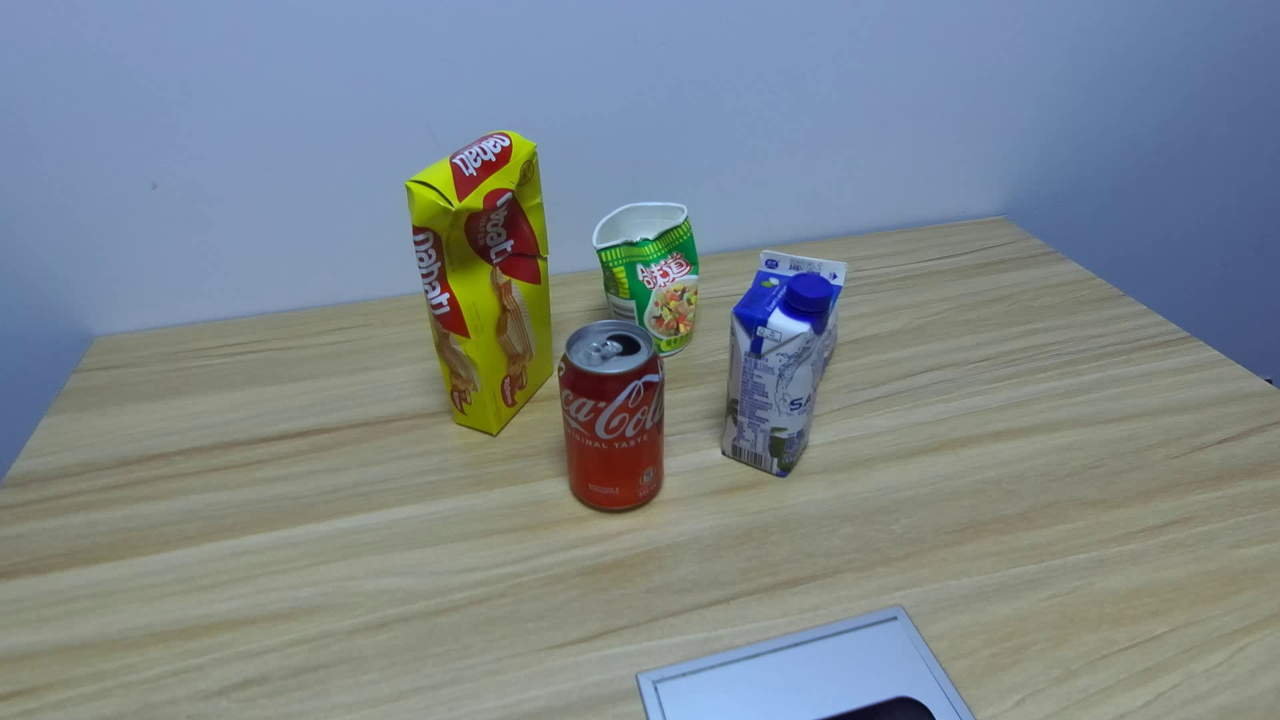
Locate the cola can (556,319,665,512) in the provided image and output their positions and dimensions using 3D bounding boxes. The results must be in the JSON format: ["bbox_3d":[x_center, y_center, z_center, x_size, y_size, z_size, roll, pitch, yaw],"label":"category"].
[{"bbox_3d":[-0.016,0.037,0.462,0.068,0.120,0.067,-1,36,1],"label":"cola can"}]

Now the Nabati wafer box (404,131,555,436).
[{"bbox_3d":[-0.109,-0.050,0.511,0.042,0.204,0.107,16,39,20],"label":"Nabati wafer box"}]

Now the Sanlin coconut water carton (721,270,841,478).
[{"bbox_3d":[0.092,0.007,0.478,0.060,0.144,0.061,17,41,25],"label":"Sanlin coconut water carton"}]

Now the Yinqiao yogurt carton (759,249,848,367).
[{"bbox_3d":[0.125,-0.041,0.586,0.077,0.094,0.071,14,30,17],"label":"Yinqiao yogurt carton"}]

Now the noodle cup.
[{"bbox_3d":[0.012,-0.068,0.609,0.083,0.122,0.075,-13,29,2],"label":"noodle cup"}]
